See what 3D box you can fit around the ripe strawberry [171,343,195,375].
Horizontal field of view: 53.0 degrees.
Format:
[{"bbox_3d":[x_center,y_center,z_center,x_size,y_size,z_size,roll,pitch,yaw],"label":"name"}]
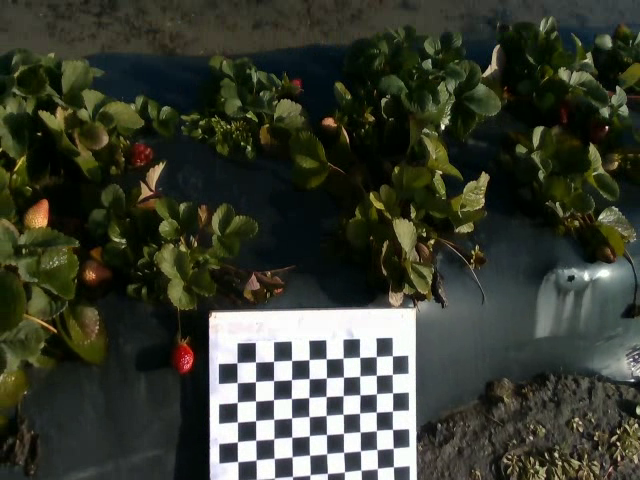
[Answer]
[{"bbox_3d":[-0.160,0.137,0.707,0.034,0.033,0.038,-1,40,-13],"label":"ripe strawberry"}]
